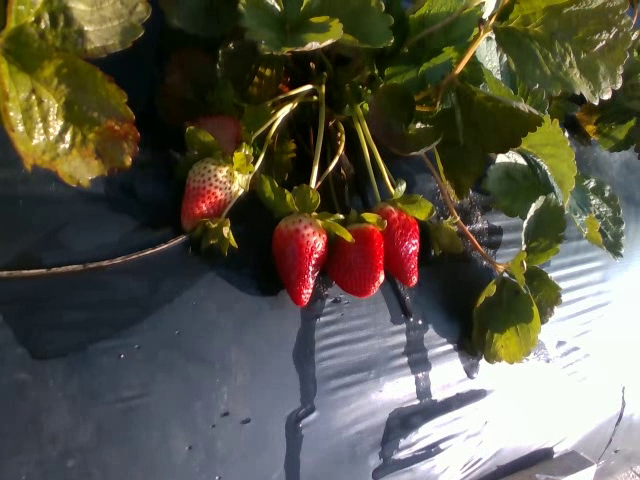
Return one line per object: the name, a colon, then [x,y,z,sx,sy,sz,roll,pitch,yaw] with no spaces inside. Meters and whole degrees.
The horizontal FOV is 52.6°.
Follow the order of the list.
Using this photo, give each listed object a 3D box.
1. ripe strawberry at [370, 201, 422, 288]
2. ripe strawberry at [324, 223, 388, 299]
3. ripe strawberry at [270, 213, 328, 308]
ripe strawberry: [0.042,0.008,0.324,0.035,0.041,0.034,-6,-32,-33]
ripe strawberry: [0.020,0.010,0.305,0.030,0.037,0.039,11,35,-36]
ripe strawberry: [-0.008,0.010,0.295,0.031,0.045,0.023,-2,2,-34]
